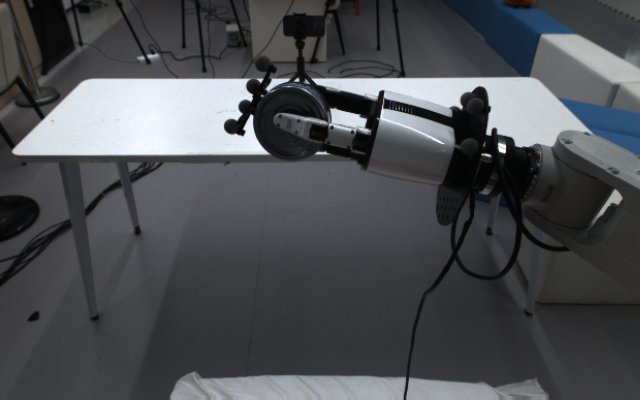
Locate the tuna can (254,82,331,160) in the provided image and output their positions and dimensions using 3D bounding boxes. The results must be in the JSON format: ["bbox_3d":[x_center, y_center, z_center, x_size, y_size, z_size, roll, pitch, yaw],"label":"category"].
[{"bbox_3d":[-0.027,-0.085,0.545,0.085,0.085,0.034,3,21,2],"label":"tuna can"}]
